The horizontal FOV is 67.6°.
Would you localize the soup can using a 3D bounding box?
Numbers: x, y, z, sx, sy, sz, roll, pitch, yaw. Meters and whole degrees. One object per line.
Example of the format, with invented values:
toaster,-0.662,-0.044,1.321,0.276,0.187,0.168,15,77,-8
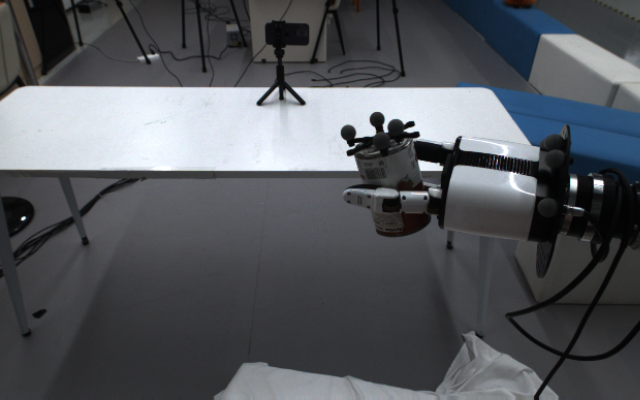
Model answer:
soup can,0.085,-0.019,0.549,0.067,0.101,0.067,-16,22,7
